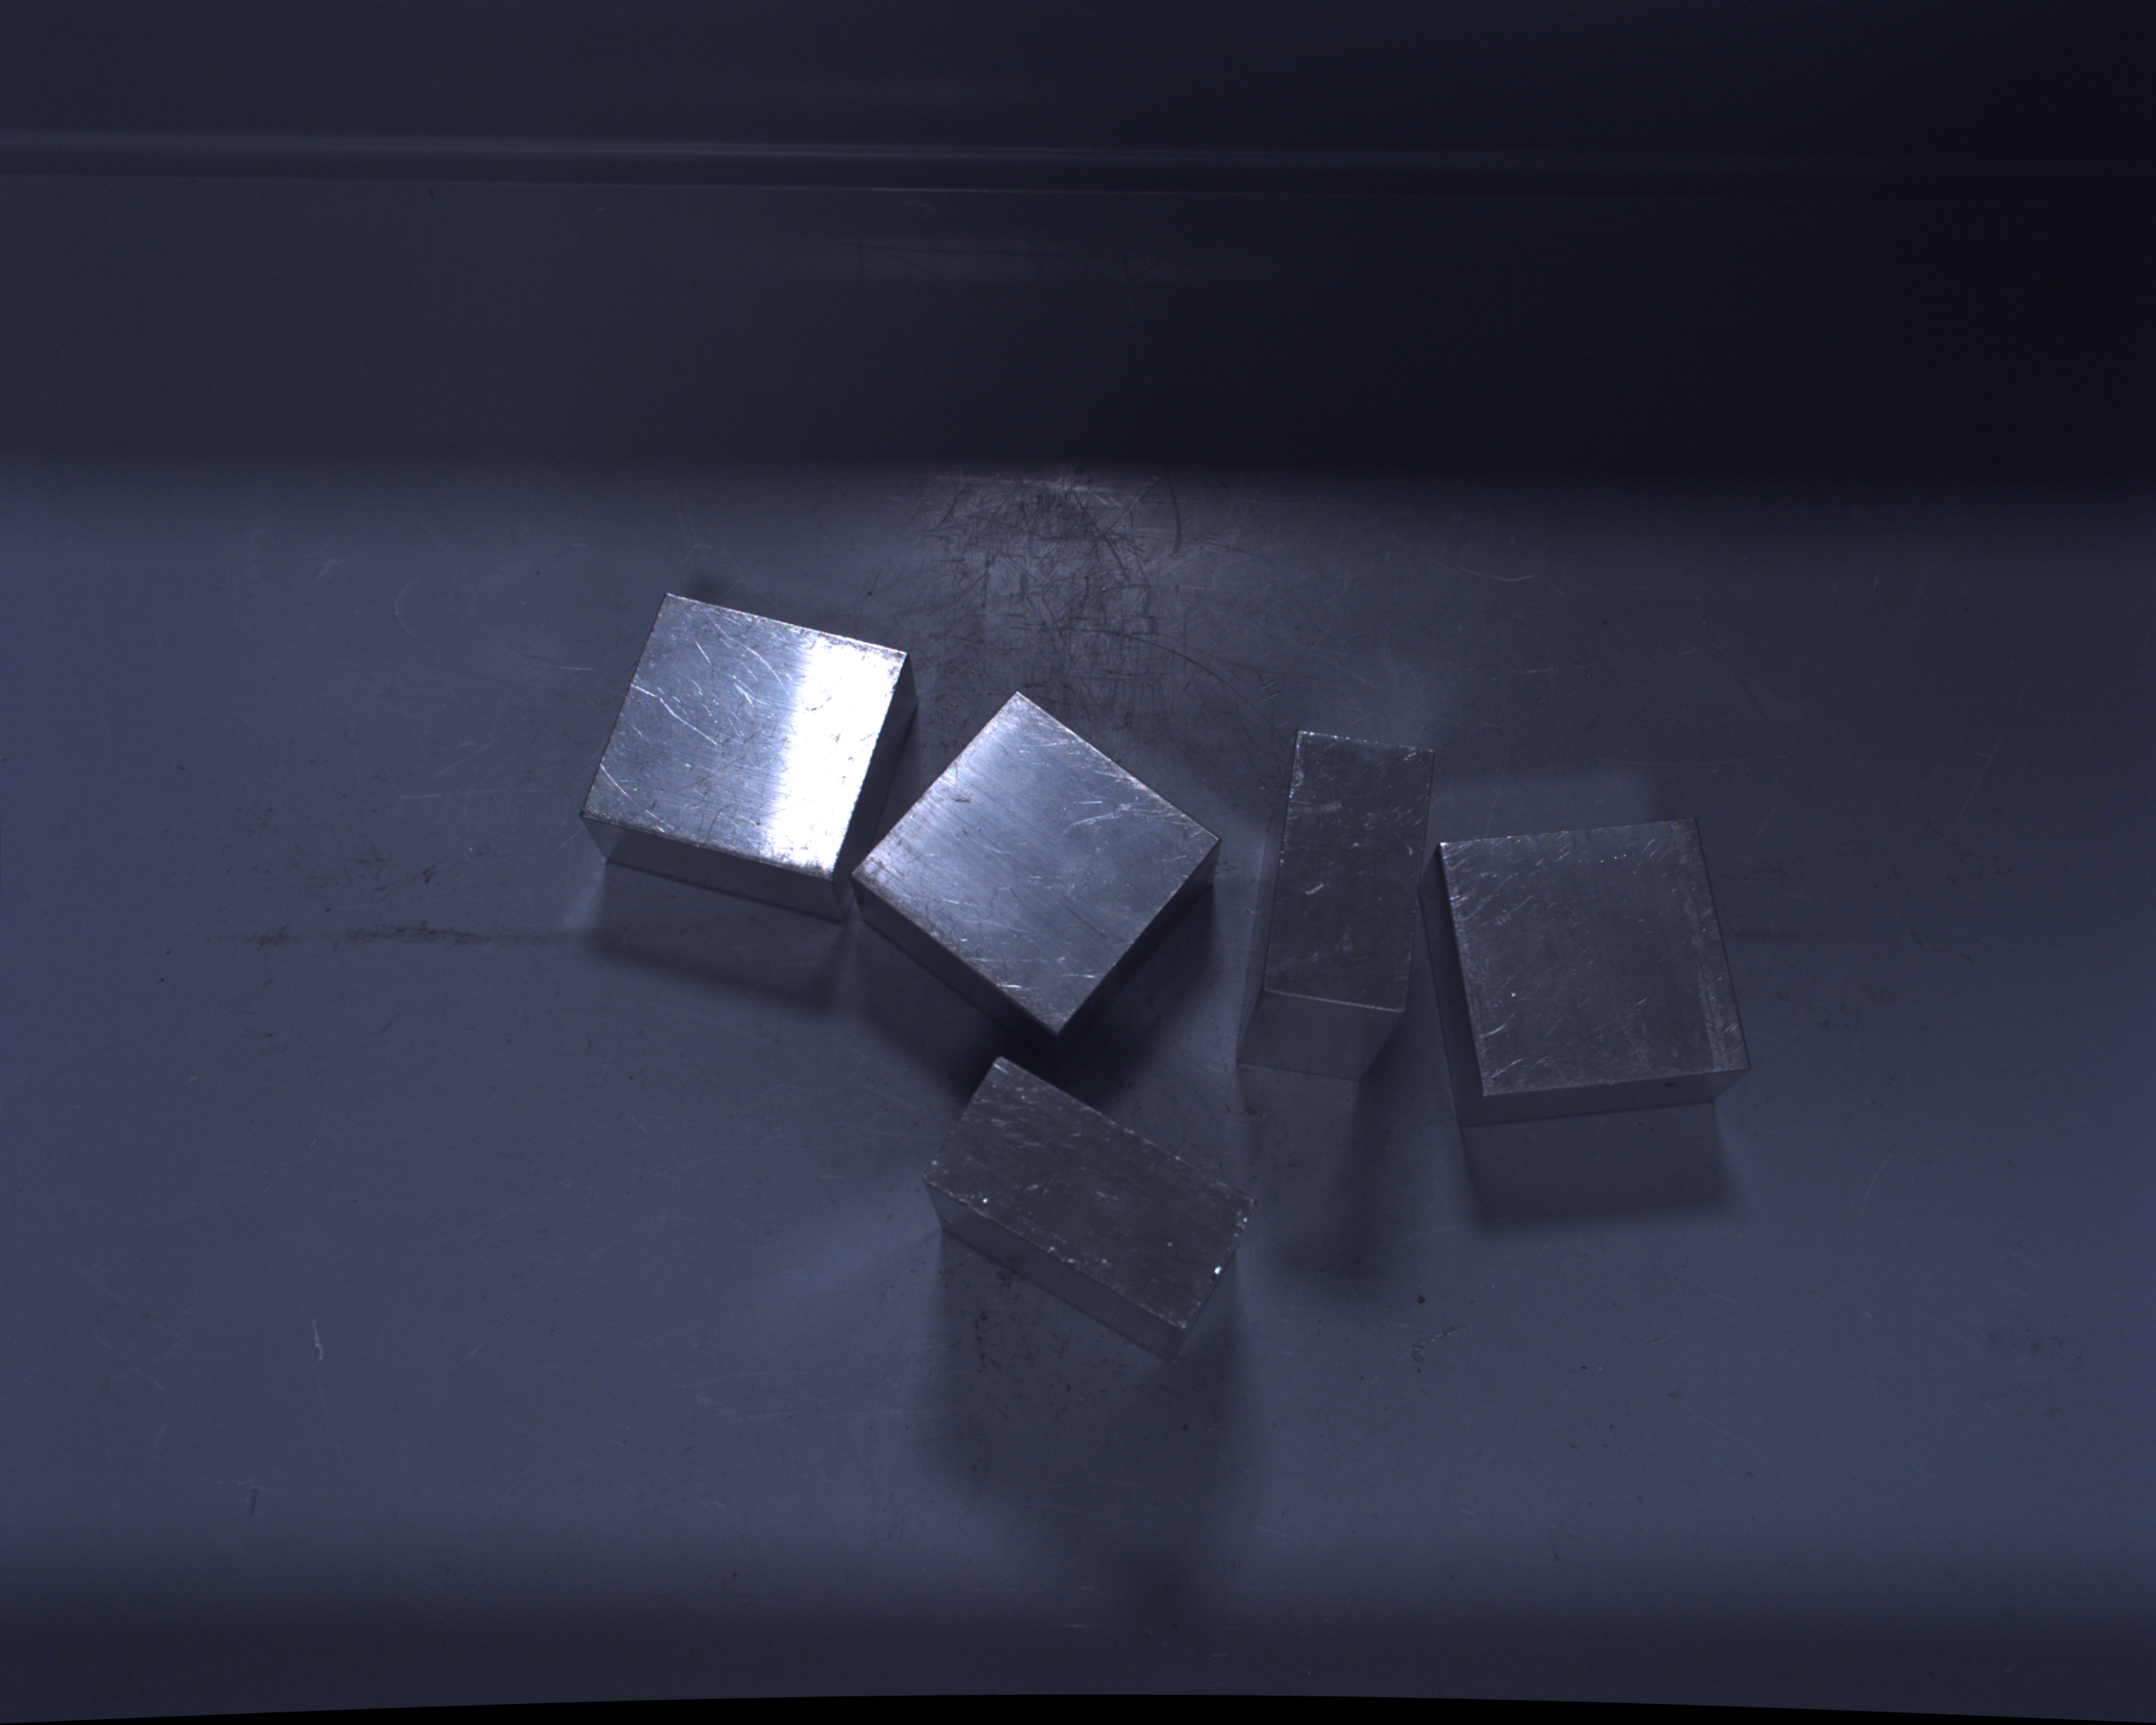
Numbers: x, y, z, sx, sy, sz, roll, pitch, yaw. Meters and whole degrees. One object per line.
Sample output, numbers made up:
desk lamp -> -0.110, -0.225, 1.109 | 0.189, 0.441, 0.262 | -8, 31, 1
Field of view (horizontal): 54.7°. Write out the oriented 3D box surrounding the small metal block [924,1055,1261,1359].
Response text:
small metal block -> 0.002, 0.063, 0.371 | 0.050, 0.050, 0.025 | 29, 74, 9

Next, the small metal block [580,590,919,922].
small metal block -> -0.064, -0.021, 0.414 | 0.050, 0.025, 0.050 | 14, 71, 5

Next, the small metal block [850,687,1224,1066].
small metal block -> -0.008, 0.003, 0.406 | 0.050, 0.025, 0.050 | 37, 74, 12

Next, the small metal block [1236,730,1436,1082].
small metal block -> 0.048, 0.009, 0.392 | 0.025, 0.050, 0.050 | 9, 70, 2

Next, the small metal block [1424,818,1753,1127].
small metal block -> 0.096, 0.021, 0.401 | 0.050, 0.025, 0.050 | -5, 70, -3
